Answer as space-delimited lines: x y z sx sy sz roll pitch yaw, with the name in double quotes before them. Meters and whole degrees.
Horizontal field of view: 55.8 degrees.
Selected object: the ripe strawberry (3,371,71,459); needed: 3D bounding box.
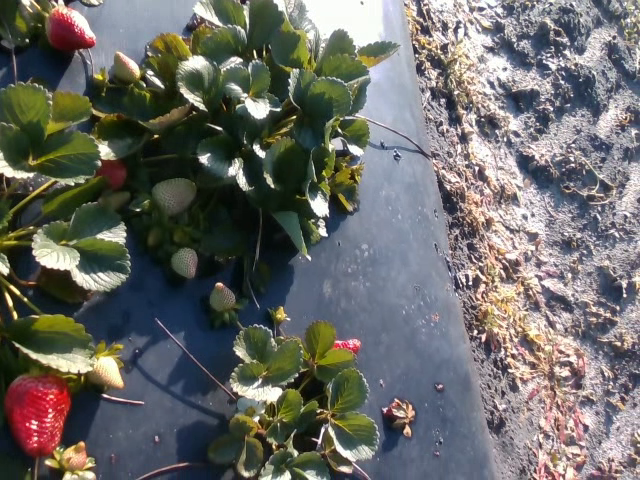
"ripe strawberry" -0.214 0.135 0.457 0.056 0.072 0.055 -30 -29 8
